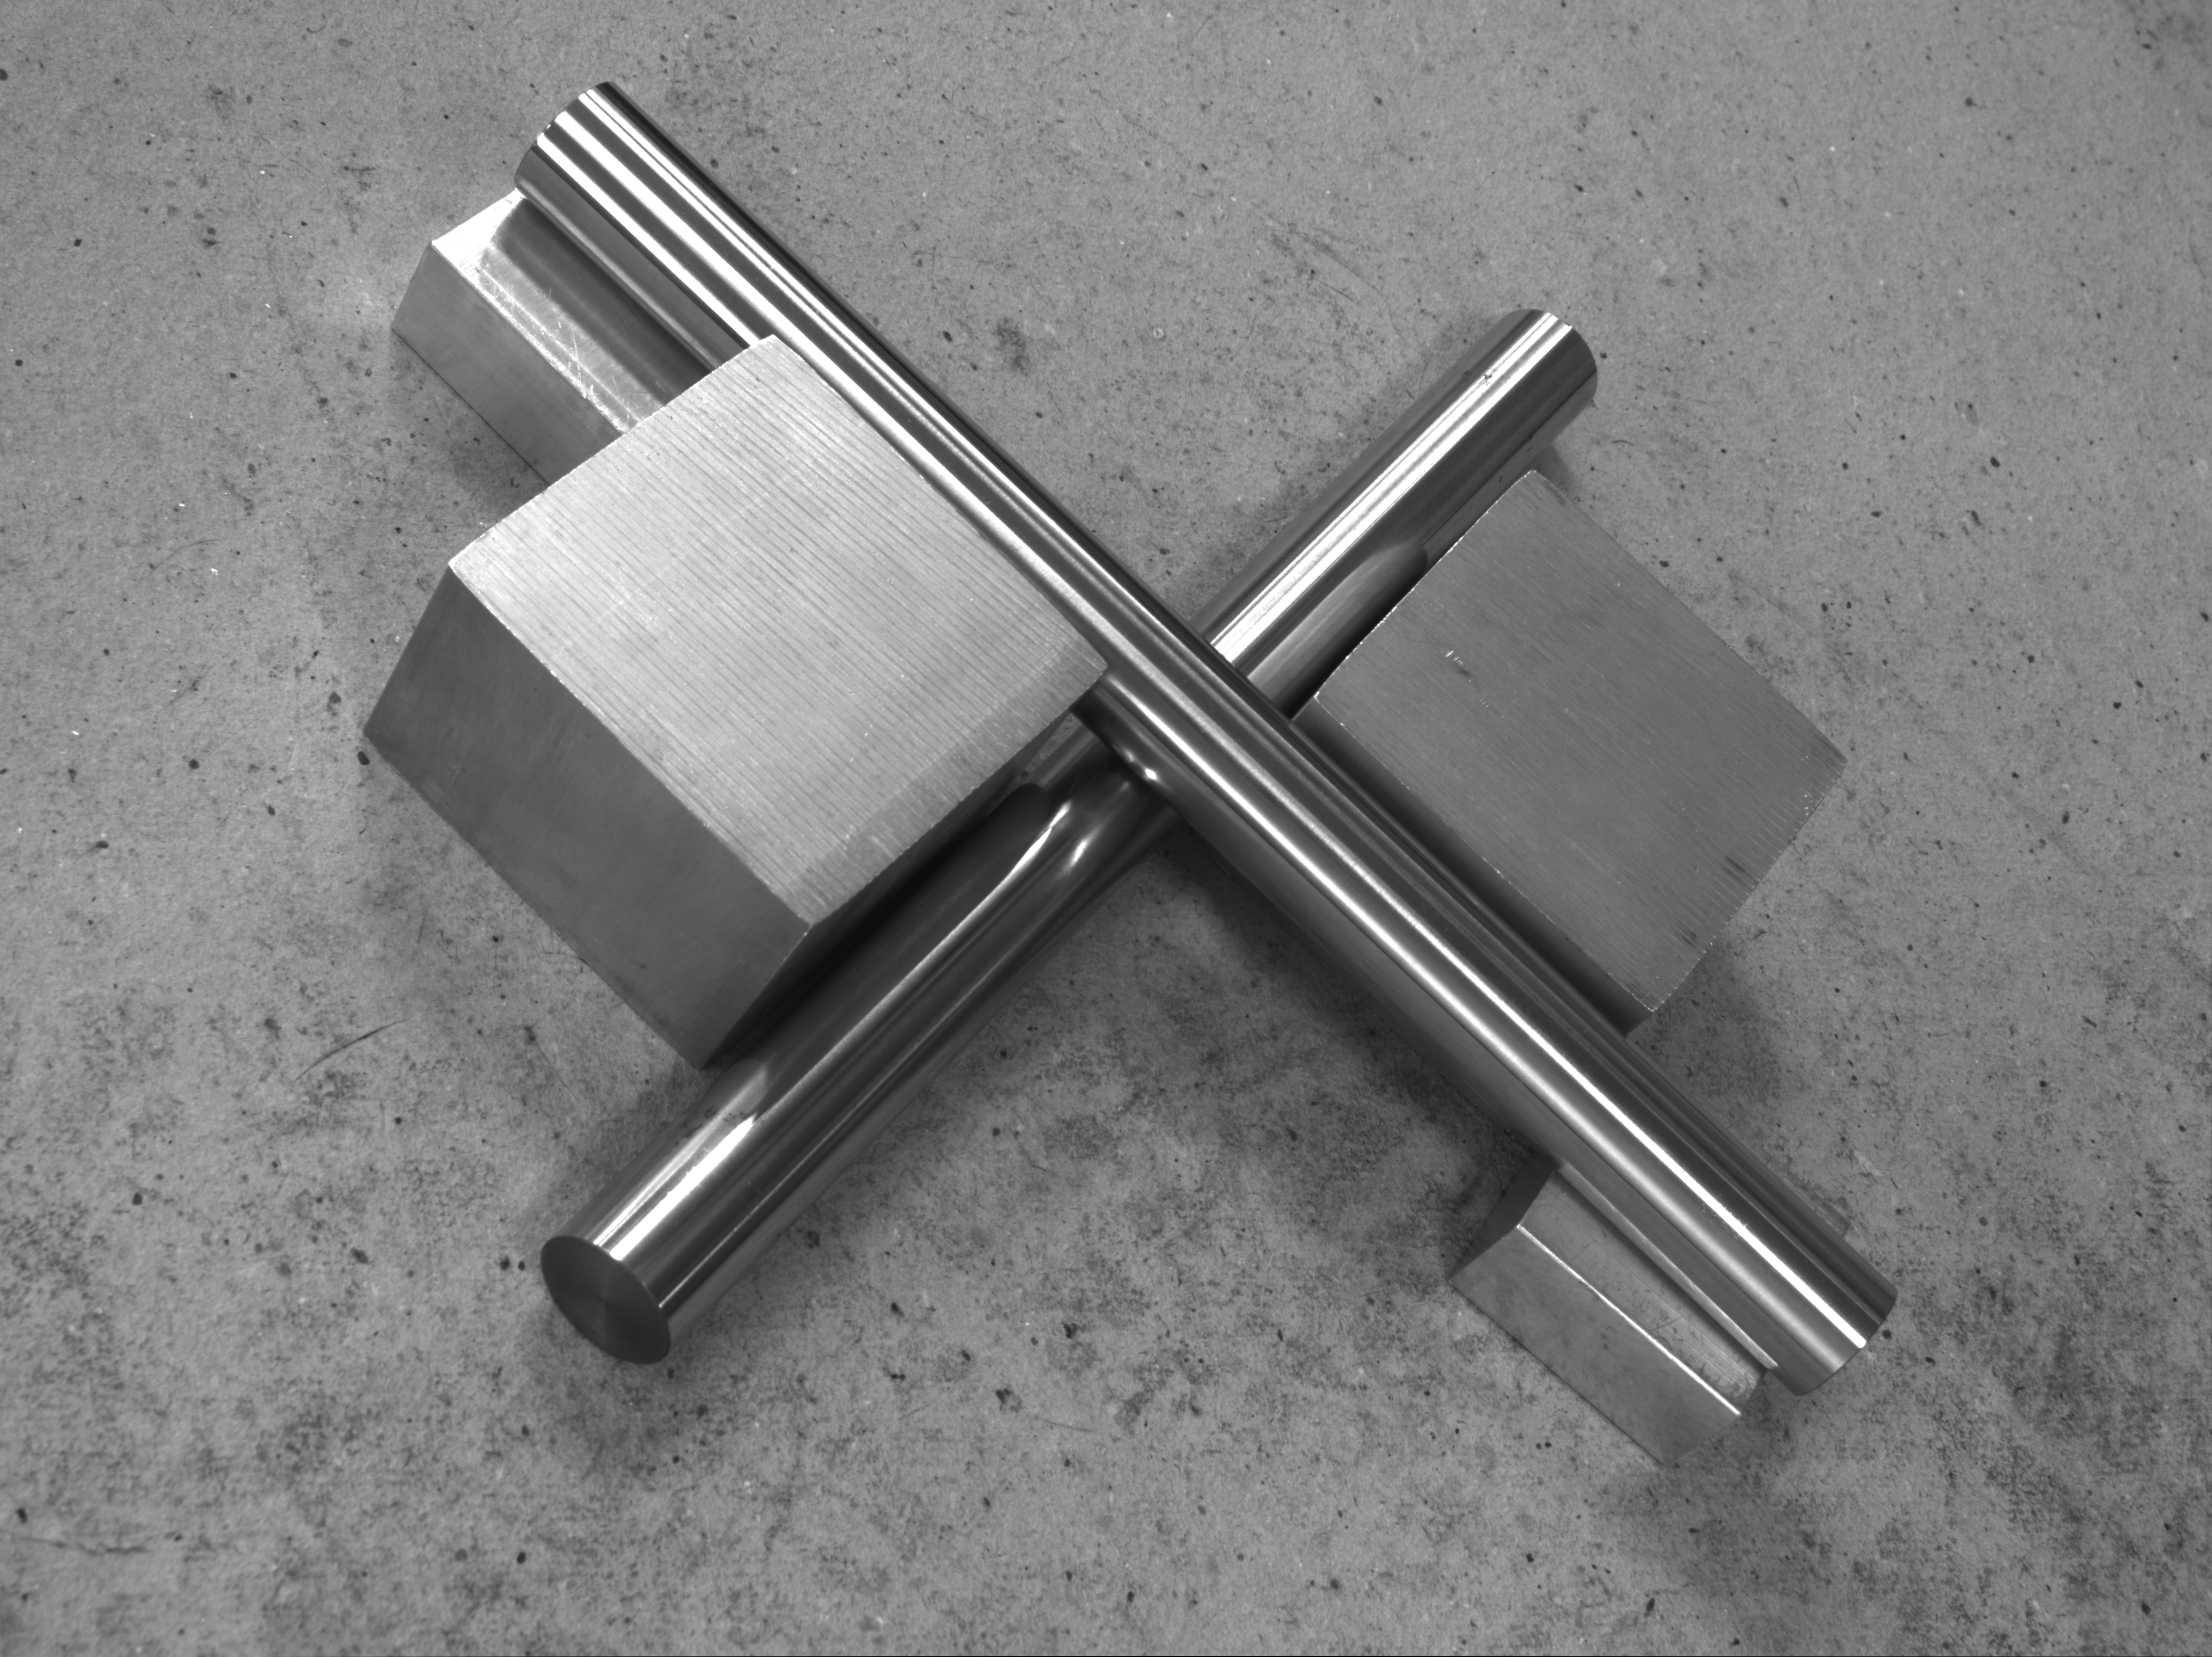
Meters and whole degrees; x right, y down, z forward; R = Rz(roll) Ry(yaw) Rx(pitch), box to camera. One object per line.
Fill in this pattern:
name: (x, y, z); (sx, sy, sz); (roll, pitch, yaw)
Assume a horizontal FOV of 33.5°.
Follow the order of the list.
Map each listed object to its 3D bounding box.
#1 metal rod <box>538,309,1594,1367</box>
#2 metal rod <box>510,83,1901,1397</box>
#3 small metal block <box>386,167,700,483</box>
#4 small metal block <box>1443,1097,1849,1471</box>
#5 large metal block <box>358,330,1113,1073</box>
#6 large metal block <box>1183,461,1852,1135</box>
metal rod: (0.006, -0.011, 0.651); (0.025, 0.025, 0.301); (43, 51, 2)
metal rod: (0.016, -0.016, 0.625); (0.300, 0.025, 0.025); (43, 51, 2)
small metal block: (-0.089, -0.089, 0.648); (0.050, 0.025, 0.050); (45, 51, 3)
small metal block: (0.095, 0.075, 0.646); (0.050, 0.025, 0.050); (40, 51, -1)
large metal block: (-0.060, -0.022, 0.602); (0.080, 0.050, 0.080); (45, 51, 3)
large metal block: (0.075, -0.006, 0.668); (0.080, 0.050, 0.080); (43, 51, 2)
